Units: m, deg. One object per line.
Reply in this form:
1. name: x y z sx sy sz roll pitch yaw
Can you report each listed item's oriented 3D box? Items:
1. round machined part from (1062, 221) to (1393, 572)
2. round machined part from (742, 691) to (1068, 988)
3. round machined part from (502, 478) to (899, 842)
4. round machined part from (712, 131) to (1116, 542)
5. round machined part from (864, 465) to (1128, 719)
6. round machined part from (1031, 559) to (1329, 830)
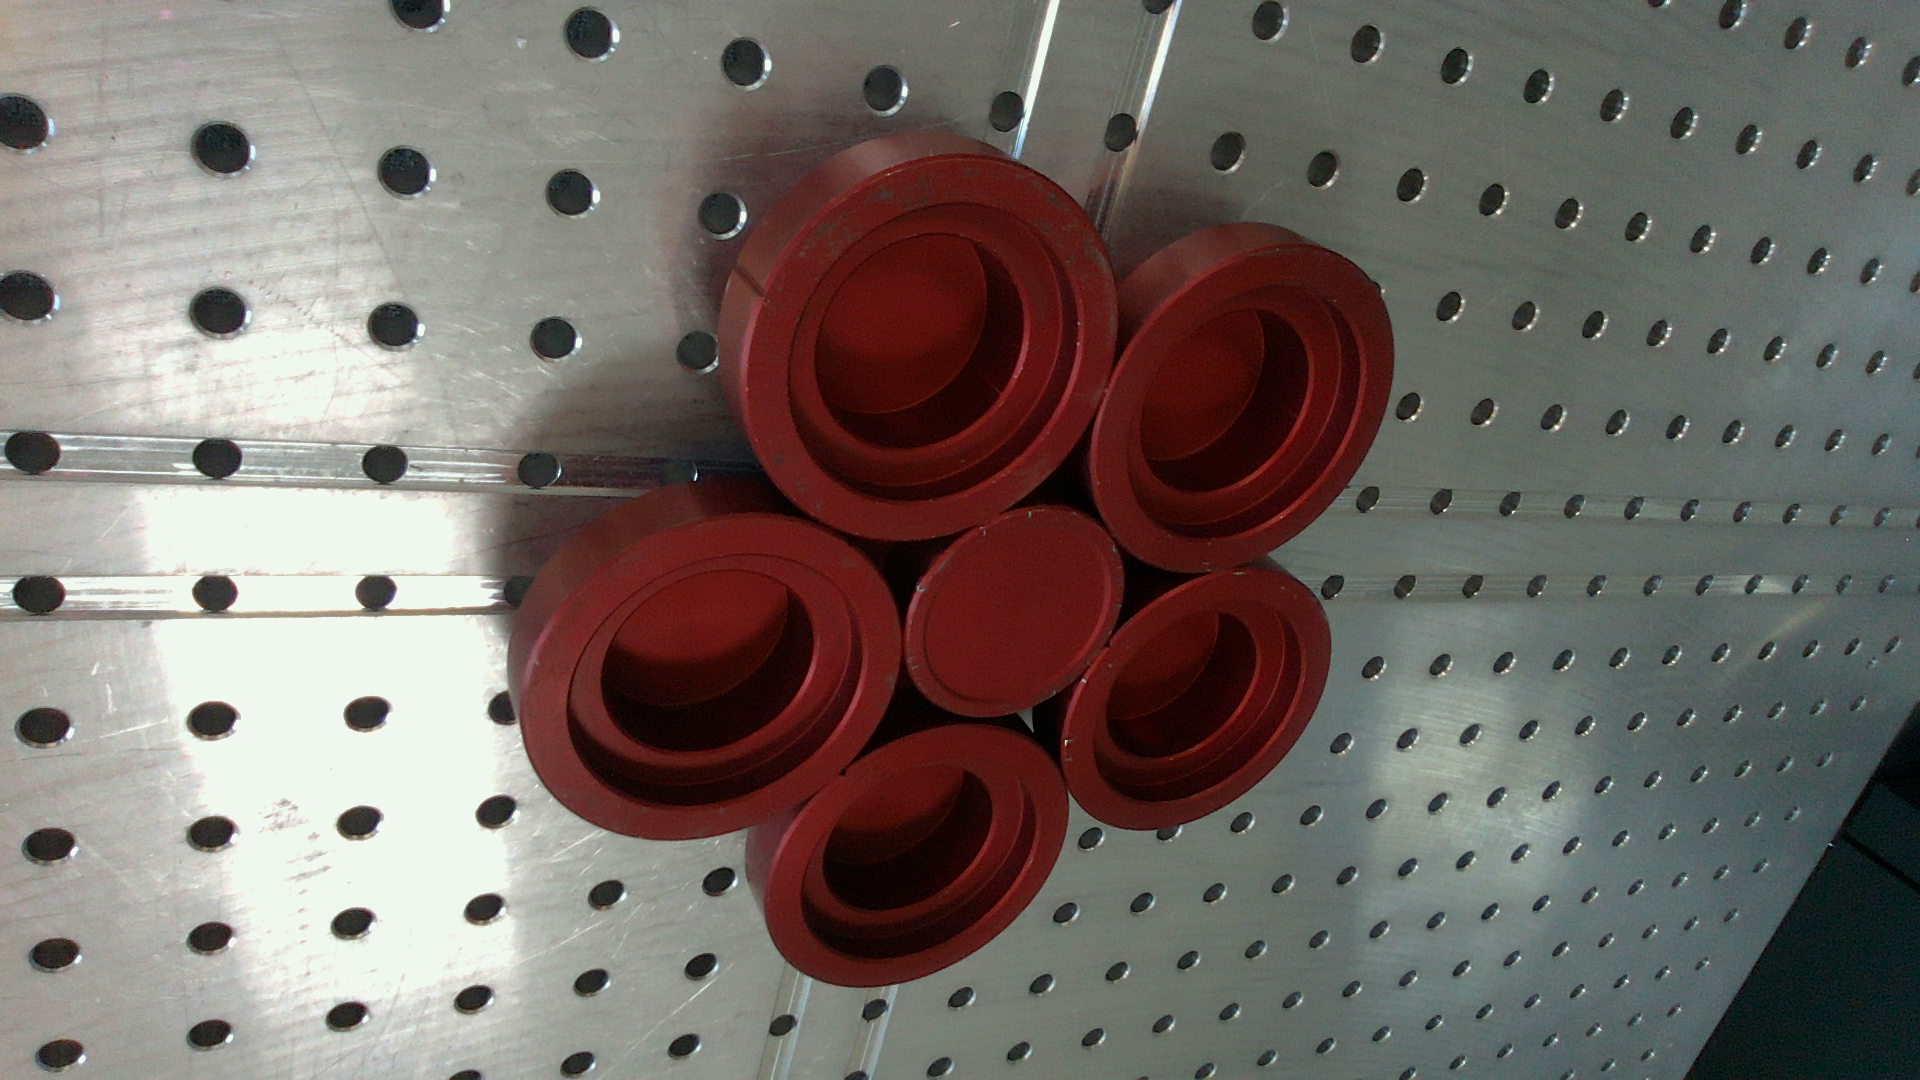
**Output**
1. round machined part: 0.070 -0.043 0.392 0.098 0.042 0.098 -14 124 -21
2. round machined part: -0.020 0.086 0.422 0.098 0.042 0.098 -14 124 -21
3. round machined part: -0.069 0.027 0.360 0.098 0.042 0.098 -14 124 -21
4. round machined part: -0.014 -0.052 0.341 0.098 0.042 0.098 -14 124 -21
5. round machined part: 0.007 0.011 0.391 0.098 0.042 0.098 -14 124 -21
6. round machined part: 0.066 0.041 0.442 0.098 0.042 0.098 -14 124 -21
